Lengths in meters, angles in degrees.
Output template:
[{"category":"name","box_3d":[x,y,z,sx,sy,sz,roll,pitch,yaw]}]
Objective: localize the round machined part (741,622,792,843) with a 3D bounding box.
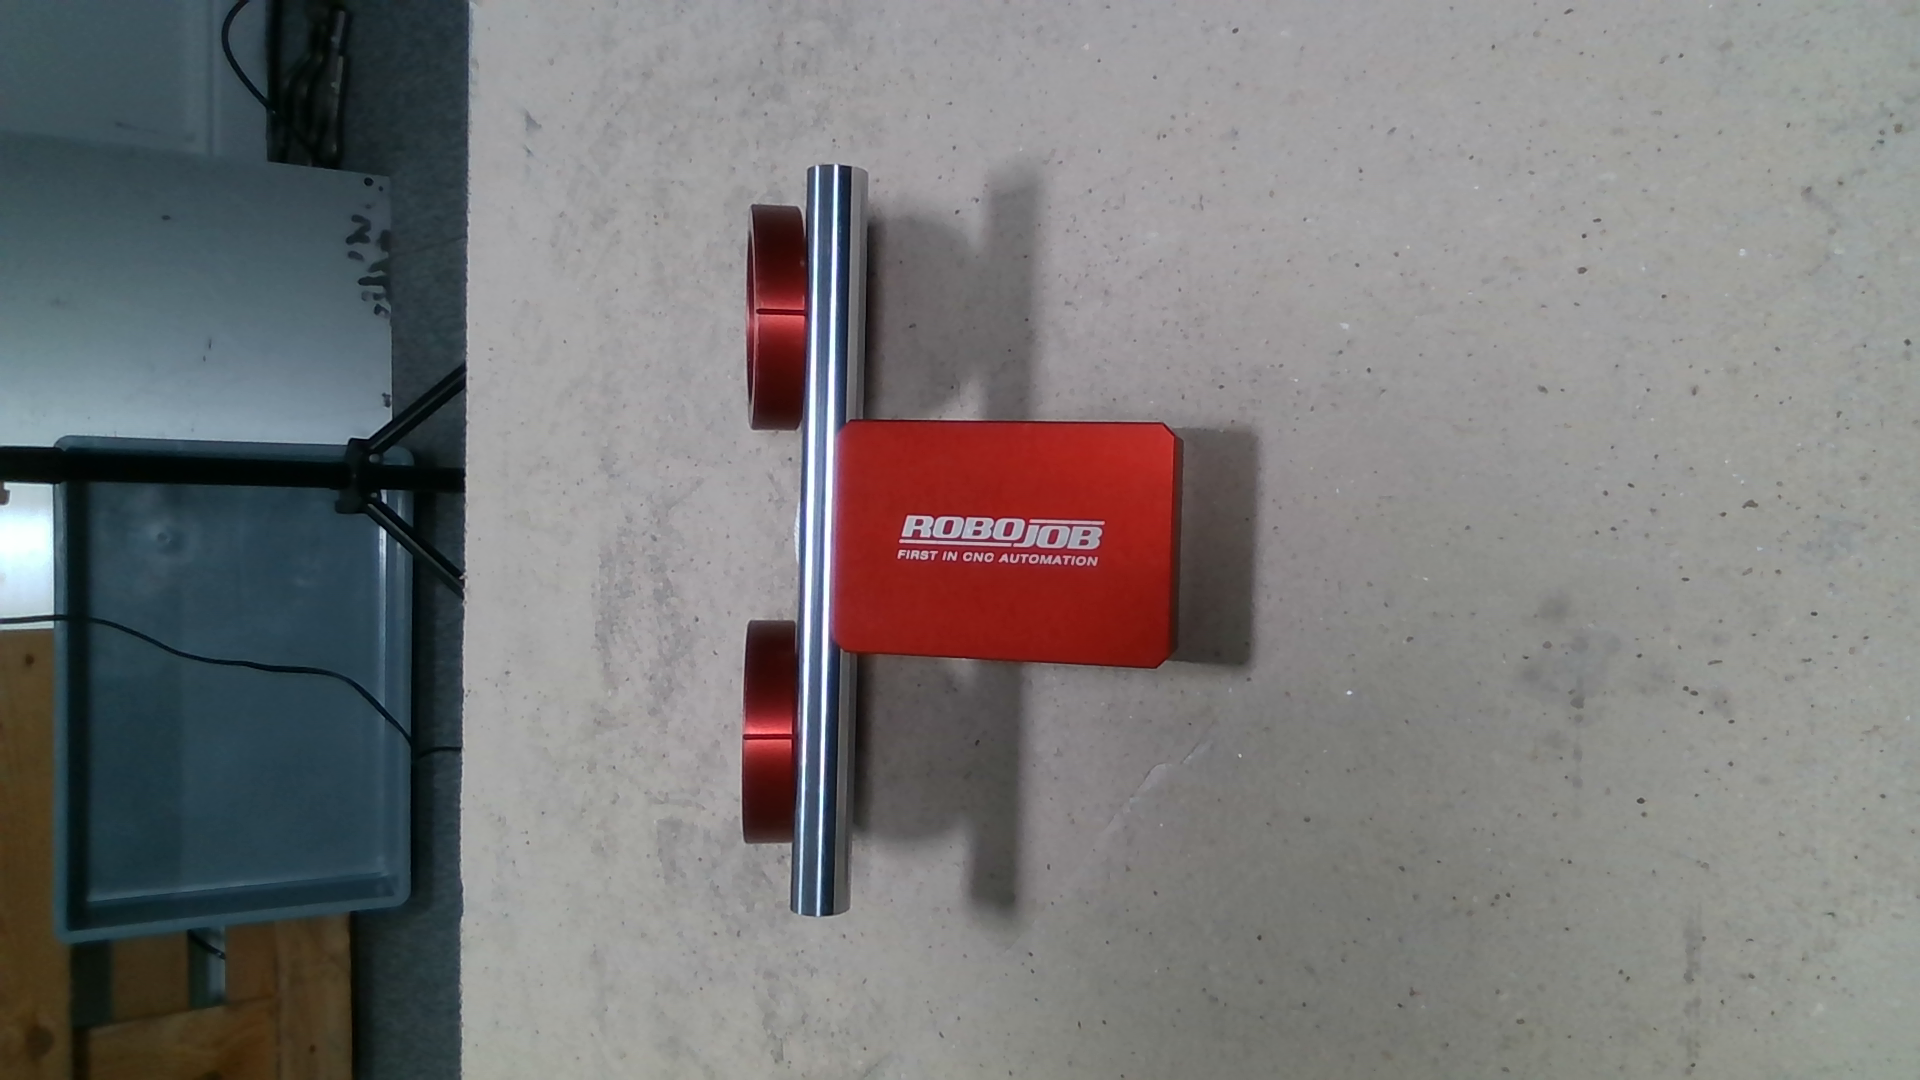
[{"category":"round machined part","box_3d":[-0.075,0.085,0.612,0.098,0.042,0.098,179,92,-83]}]

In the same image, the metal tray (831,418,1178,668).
[{"category":"metal tray","box_3d":[0.017,0.000,0.529,0.130,0.030,0.090,2,92,14]}]

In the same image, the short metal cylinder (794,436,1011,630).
[{"category":"short metal cylinder","box_3d":[-0.025,-0.003,0.588,0.080,0.050,0.080,0,91,40]}]

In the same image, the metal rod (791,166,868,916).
[{"category":"metal rod","box_3d":[-0.053,0.001,0.563,0.025,0.025,0.300,3,93,40]}]

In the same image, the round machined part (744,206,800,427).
[{"category":"round machined part","box_3d":[-0.072,-0.098,0.610,0.098,0.042,0.098,178,91,-78]}]
